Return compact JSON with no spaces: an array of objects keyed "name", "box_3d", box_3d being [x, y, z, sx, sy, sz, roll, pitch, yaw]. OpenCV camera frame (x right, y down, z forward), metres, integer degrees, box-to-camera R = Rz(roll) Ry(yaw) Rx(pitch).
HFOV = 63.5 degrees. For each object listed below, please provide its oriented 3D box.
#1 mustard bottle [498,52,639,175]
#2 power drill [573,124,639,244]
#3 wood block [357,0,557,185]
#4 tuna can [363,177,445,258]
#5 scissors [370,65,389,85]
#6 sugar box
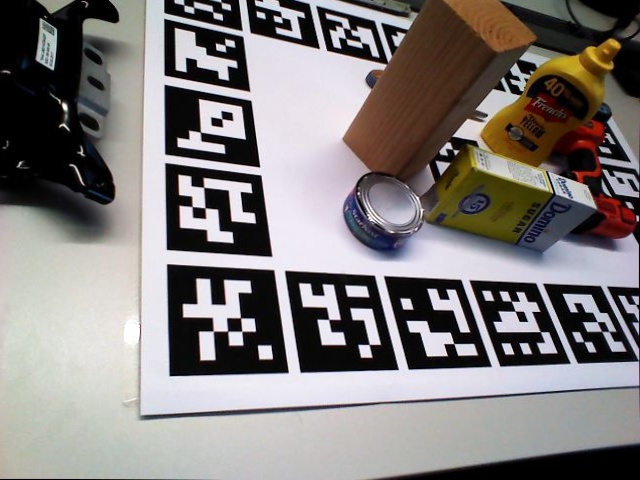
[{"name":"mustard bottle","box_3d":[0.332,-0.169,0.679,0.096,0.193,0.058,45,54,5]},{"name":"power drill","box_3d":[0.362,-0.094,0.721,0.184,0.058,0.186,15,63,-16]},{"name":"wood block","box_3d":[0.140,-0.151,0.571,0.090,0.208,0.090,-27,76,-35]},{"name":"tuna can","box_3d":[0.091,-0.024,0.563,0.085,0.034,0.085,12,58,-19]},{"name":"scissors","box_3d":[0.167,-0.192,0.715,0.202,0.016,0.087,5,55,-22]},{"name":"sugar box","box_3d":[0.250,-0.034,0.612,0.176,0.093,0.045,15,53,-18]}]
